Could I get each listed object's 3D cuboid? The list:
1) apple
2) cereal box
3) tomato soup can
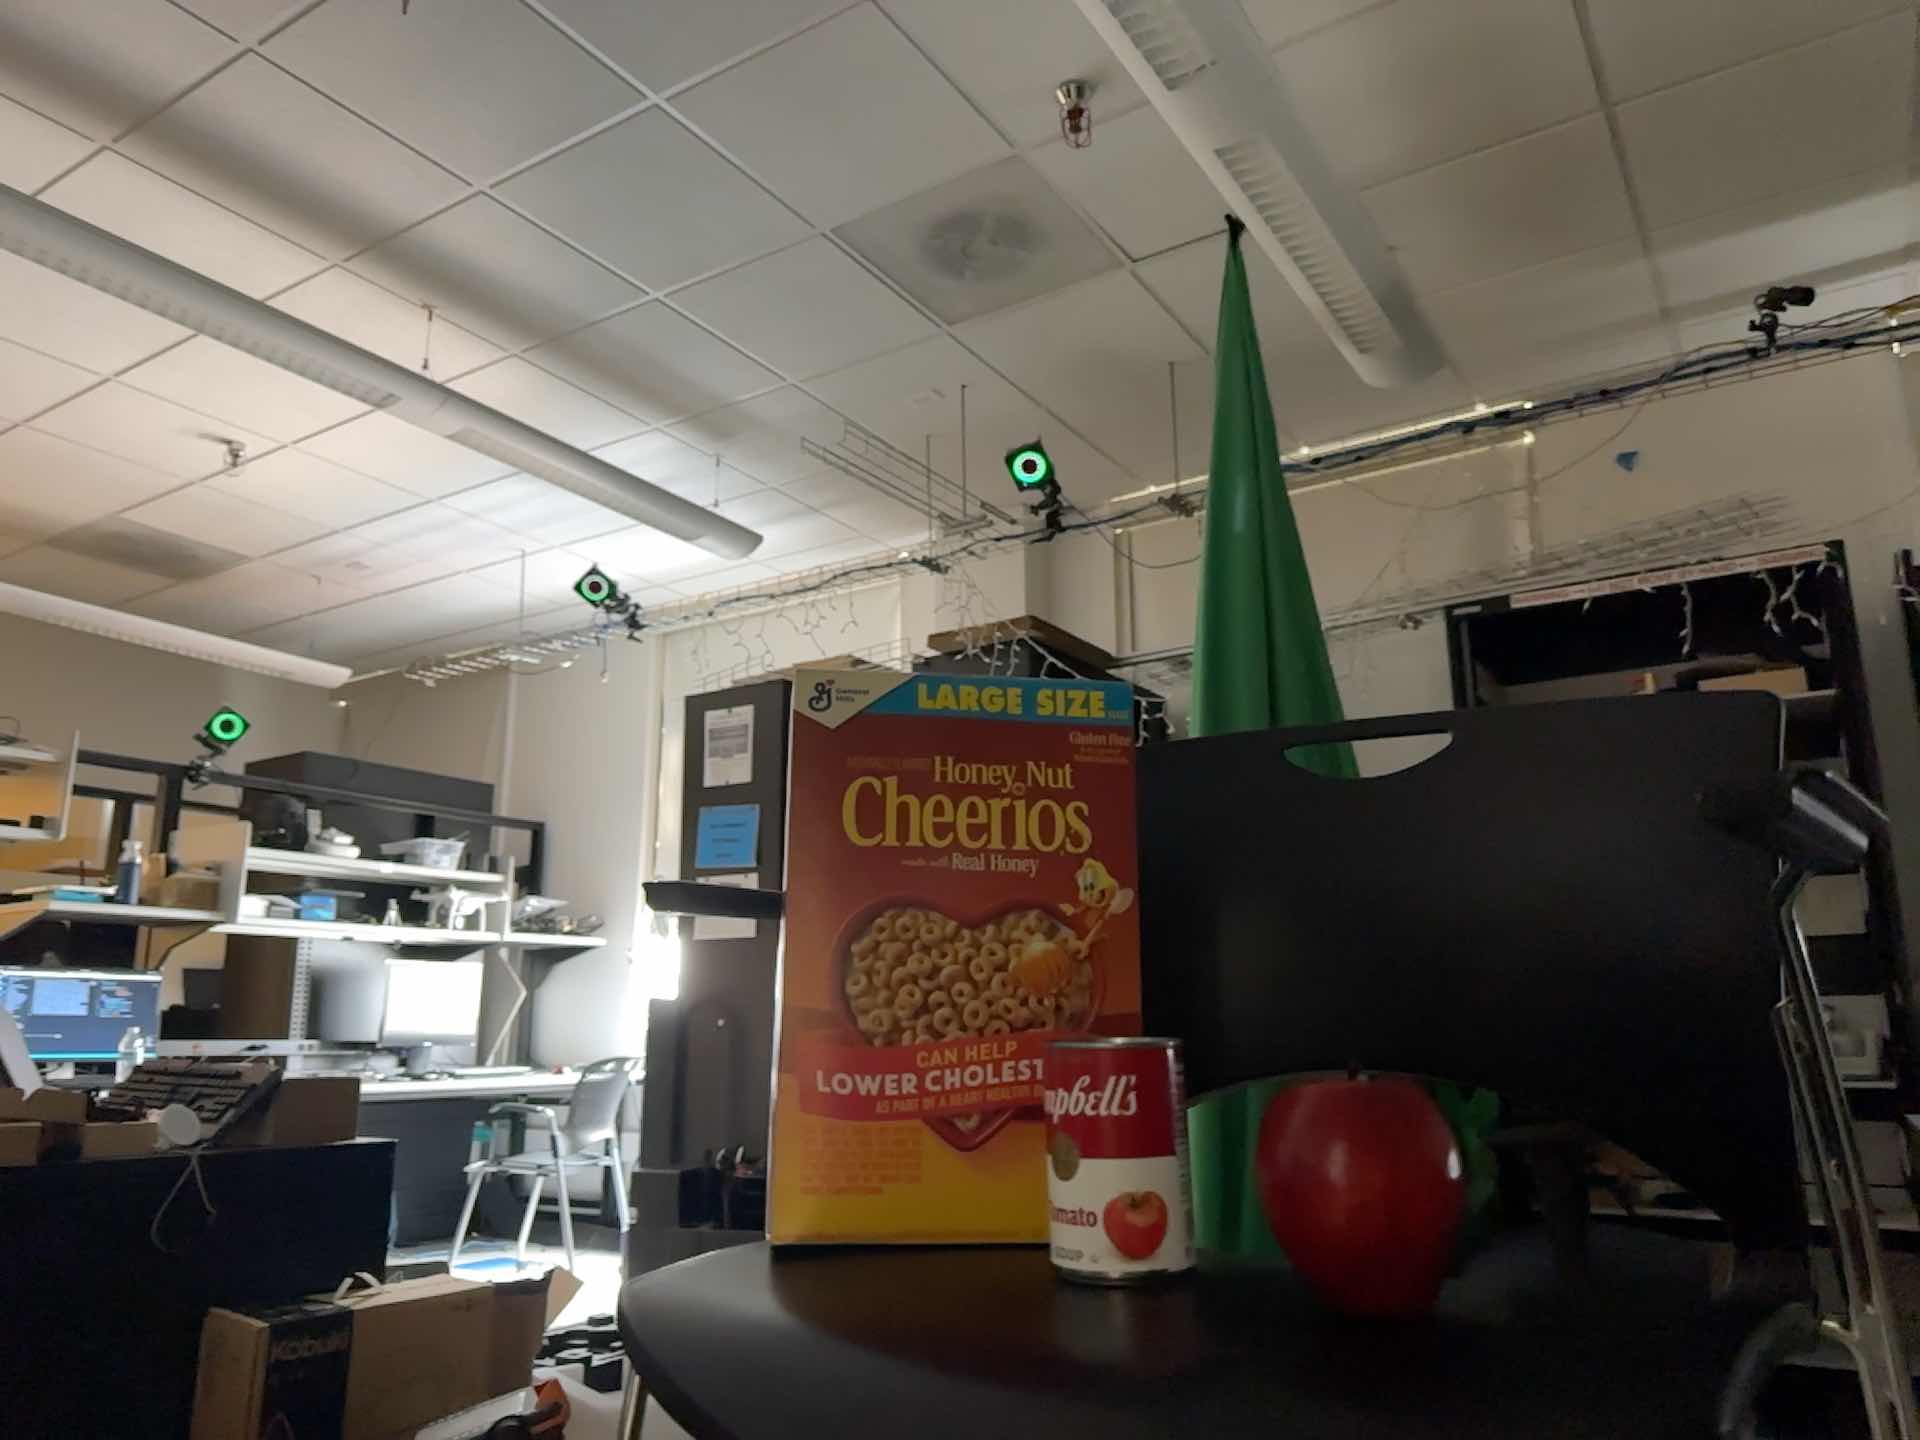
[{"bbox_3d":[0.158,0.186,0.534,0.079,0.093,0.079,-4,-8,-1],"label":"apple"},{"bbox_3d":[-0.005,0.128,0.759,0.195,0.297,0.065,3,-12,-6],"label":"cereal box"},{"bbox_3d":[0.071,0.202,0.630,0.067,0.102,0.067,0,-10,0],"label":"tomato soup can"}]
